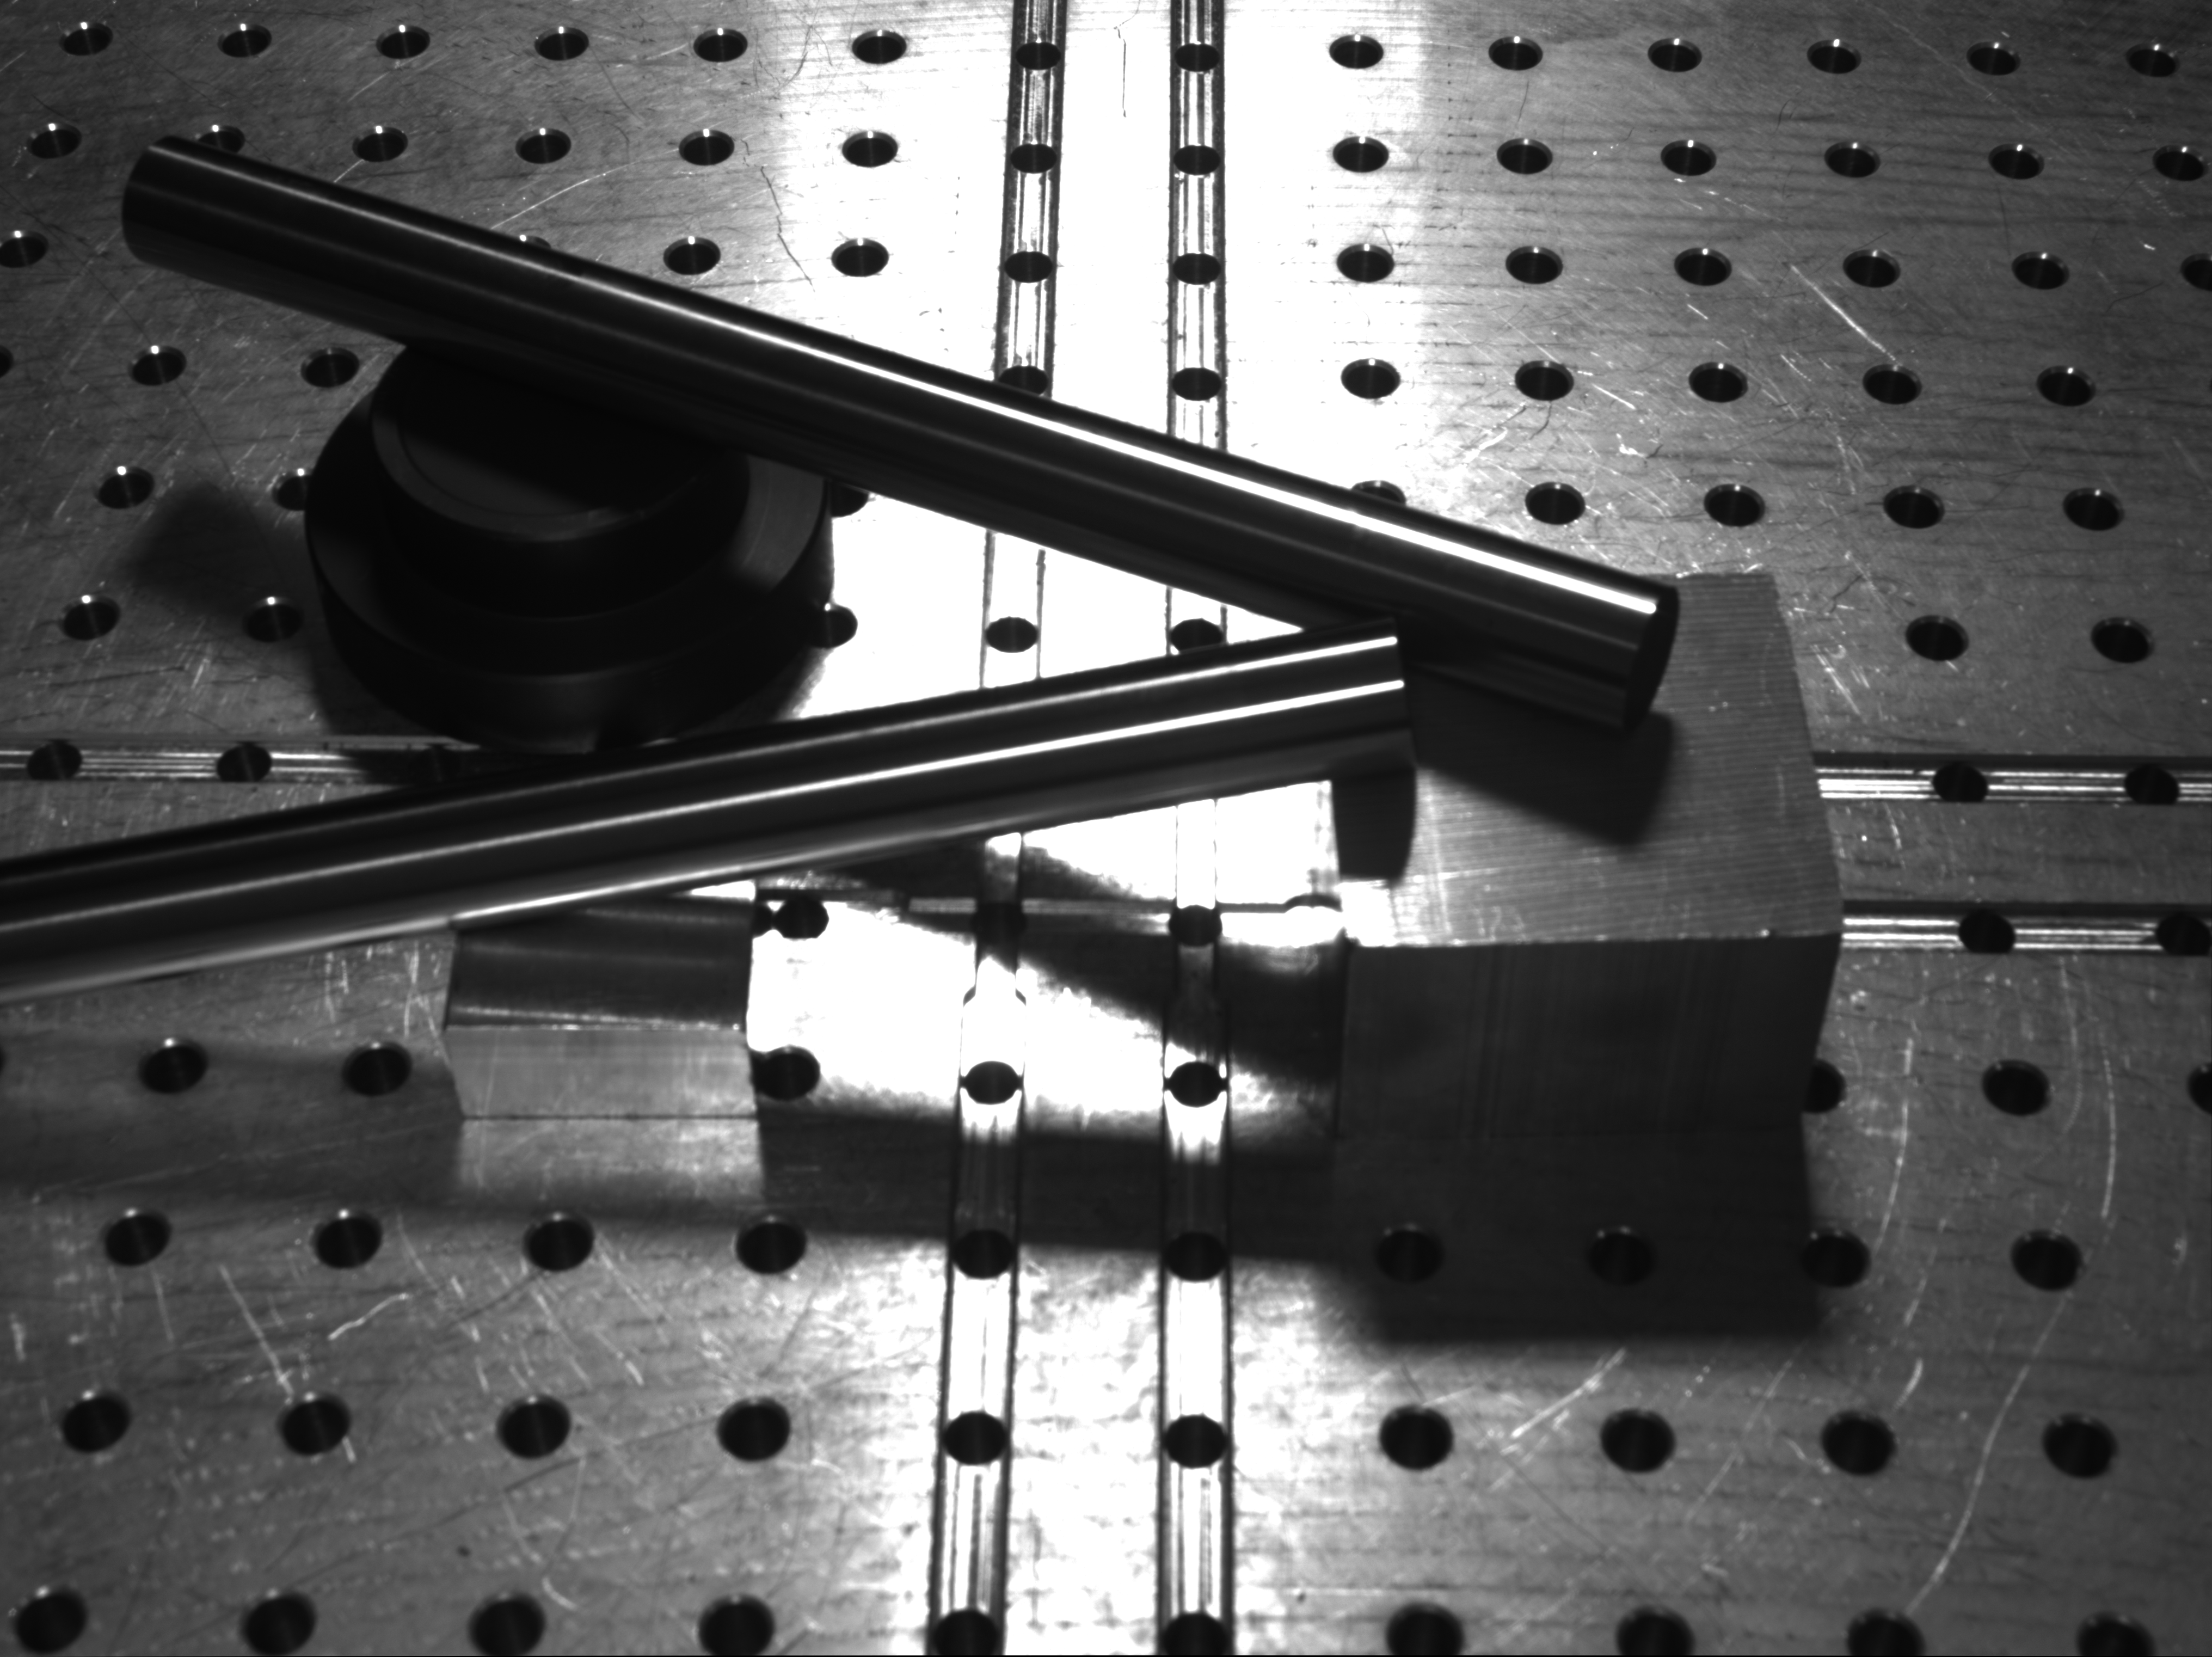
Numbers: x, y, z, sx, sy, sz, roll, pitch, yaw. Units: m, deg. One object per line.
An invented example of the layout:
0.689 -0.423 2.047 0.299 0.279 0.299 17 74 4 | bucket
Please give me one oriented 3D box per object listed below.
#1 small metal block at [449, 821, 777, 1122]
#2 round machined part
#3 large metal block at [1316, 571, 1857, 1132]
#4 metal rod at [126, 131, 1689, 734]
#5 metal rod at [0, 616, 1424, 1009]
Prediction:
-0.083 0.022 0.627 0.050 0.025 0.050 0 50 0 | small metal block
-0.100 -0.064 0.687 0.098 0.042 0.098 0 50 0 | round machined part
0.078 0.003 0.622 0.080 0.050 0.080 -1 50 -1 | large metal block
-0.043 -0.074 0.644 0.299 0.025 0.025 19 52 19 | metal rod
-0.098 0.003 0.607 0.300 0.025 0.025 -10 50 6 | metal rod
